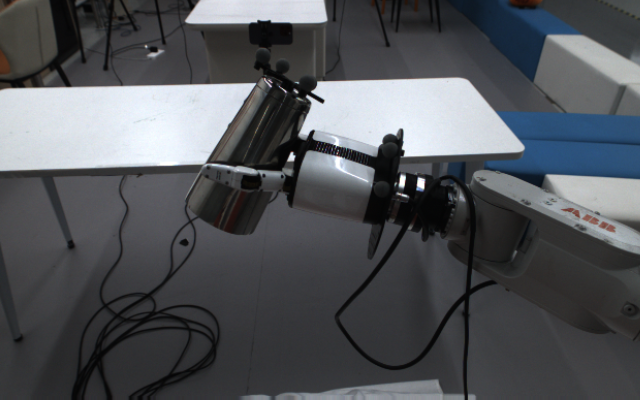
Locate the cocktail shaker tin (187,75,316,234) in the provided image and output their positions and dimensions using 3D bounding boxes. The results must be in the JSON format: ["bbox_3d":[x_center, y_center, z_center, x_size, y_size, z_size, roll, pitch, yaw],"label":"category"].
[{"bbox_3d":[-0.079,-0.054,0.567,0.093,0.170,0.093,28,13,-7],"label":"cocktail shaker tin"}]
